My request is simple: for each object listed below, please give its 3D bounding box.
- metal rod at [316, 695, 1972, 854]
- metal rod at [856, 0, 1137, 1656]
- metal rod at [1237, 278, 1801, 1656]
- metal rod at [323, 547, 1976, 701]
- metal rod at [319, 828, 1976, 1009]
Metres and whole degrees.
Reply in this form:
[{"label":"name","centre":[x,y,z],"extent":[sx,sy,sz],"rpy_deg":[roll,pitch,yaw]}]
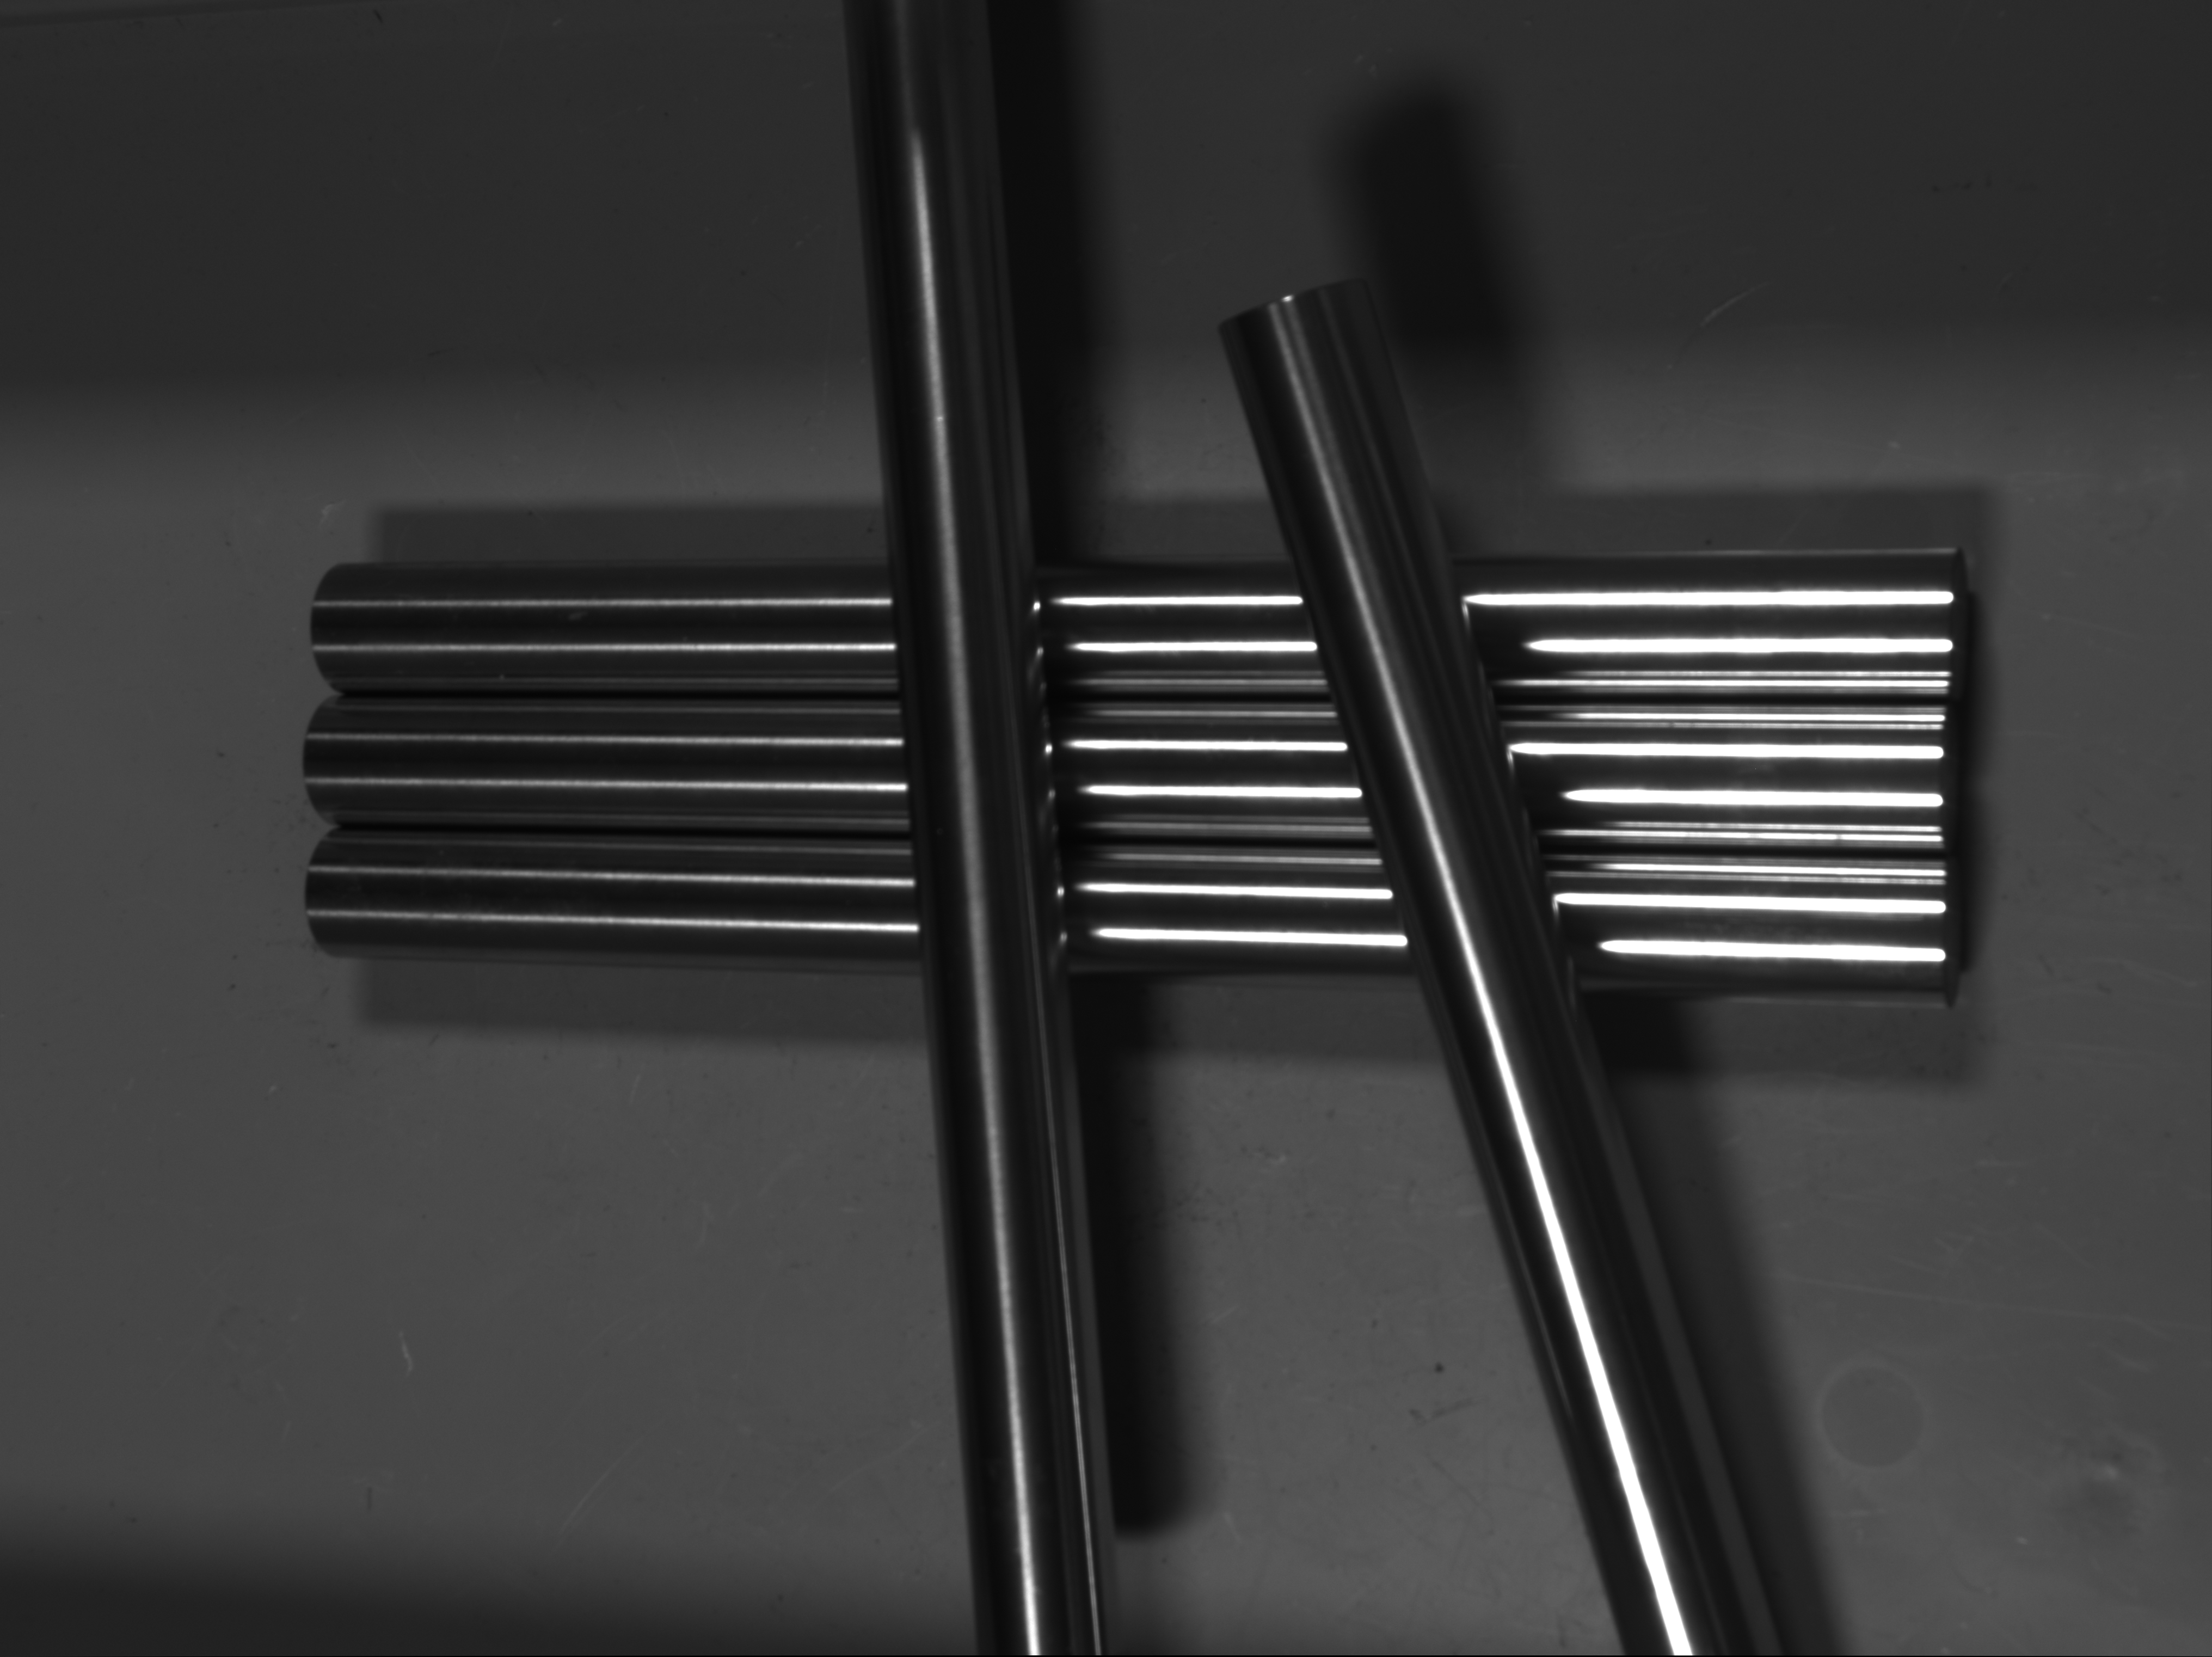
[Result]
[{"label":"metal rod","centre":[-0.002,-0.011,0.644],"extent":[0.299,0.025,0.025],"rpy_deg":[1,90,20]},{"label":"metal rod","centre":[-0.019,-0.009,0.624],"extent":[0.025,0.025,0.300],"rpy_deg":[-5,88,20]},{"label":"metal rod","centre":[0.077,0.059,0.595],"extent":[0.025,0.025,0.300],"rpy_deg":[-17,91,19]},{"label":"metal rod","centre":[-0.001,-0.035,0.644],"extent":[0.299,0.025,0.025],"rpy_deg":[1,90,20]},{"label":"metal rod","centre":[-0.001,0.015,0.644],"extent":[0.299,0.025,0.025],"rpy_deg":[1,90,20]}]
